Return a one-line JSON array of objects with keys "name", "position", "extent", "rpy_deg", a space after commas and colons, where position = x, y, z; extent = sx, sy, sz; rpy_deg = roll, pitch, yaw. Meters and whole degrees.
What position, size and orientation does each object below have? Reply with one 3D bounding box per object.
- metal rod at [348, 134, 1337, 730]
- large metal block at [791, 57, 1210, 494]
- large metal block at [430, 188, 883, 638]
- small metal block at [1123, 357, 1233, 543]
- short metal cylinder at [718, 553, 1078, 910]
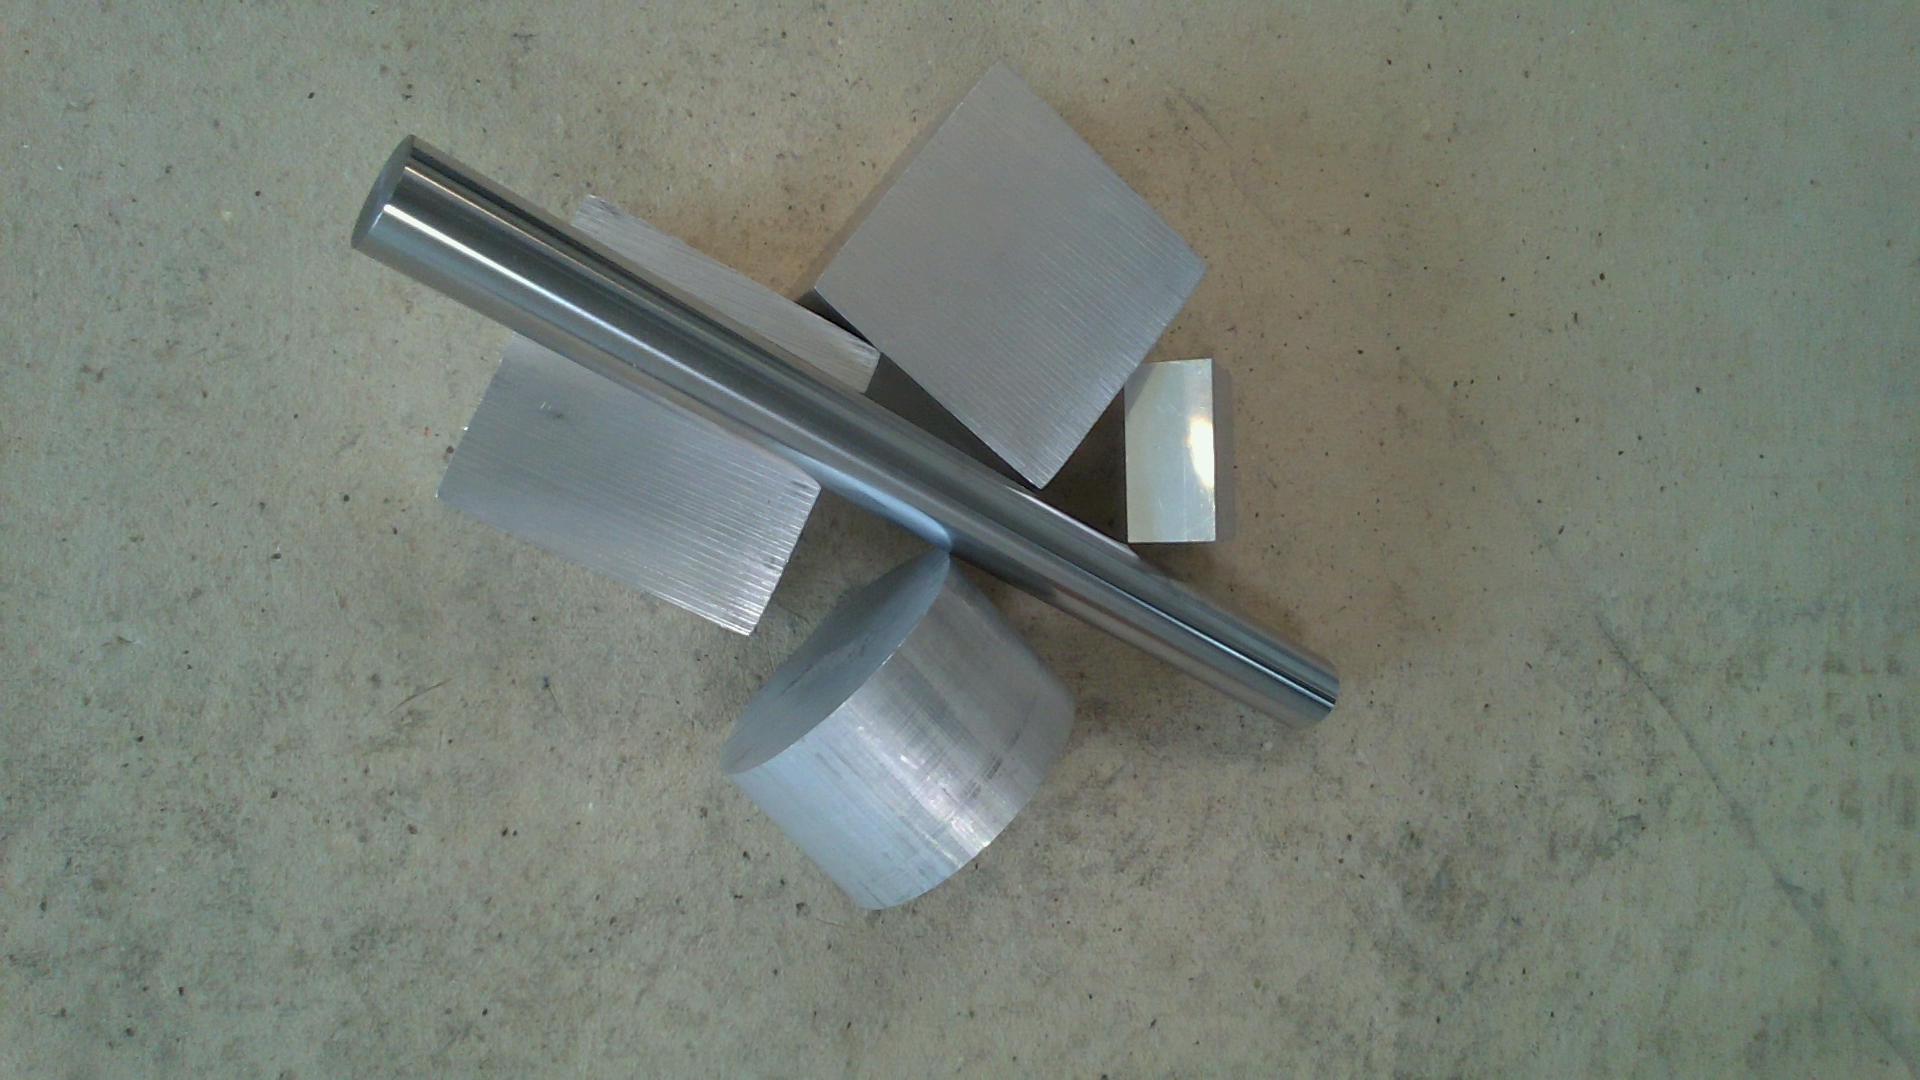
[{"name": "metal rod", "position": [-0.002, -0.009, 0.349], "extent": [0.301, 0.025, 0.025], "rpy_deg": [28, 81, -34]}, {"name": "large metal block", "position": [0.007, -0.068, 0.380], "extent": [0.080, 0.050, 0.080], "rpy_deg": [41, 77, -15]}, {"name": "large metal block", "position": [-0.078, -0.029, 0.352], "extent": [0.080, 0.050, 0.080], "rpy_deg": [26, 81, -18]}, {"name": "small metal block", "position": [0.064, -0.025, 0.401], "extent": [0.025, 0.050, 0.050], "rpy_deg": [-1, 91, 16]}, {"name": "short metal cylinder", "position": [-0.016, 0.048, 0.358], "extent": [0.080, 0.080, 0.050], "rpy_deg": [-46, 104, -14]}]
